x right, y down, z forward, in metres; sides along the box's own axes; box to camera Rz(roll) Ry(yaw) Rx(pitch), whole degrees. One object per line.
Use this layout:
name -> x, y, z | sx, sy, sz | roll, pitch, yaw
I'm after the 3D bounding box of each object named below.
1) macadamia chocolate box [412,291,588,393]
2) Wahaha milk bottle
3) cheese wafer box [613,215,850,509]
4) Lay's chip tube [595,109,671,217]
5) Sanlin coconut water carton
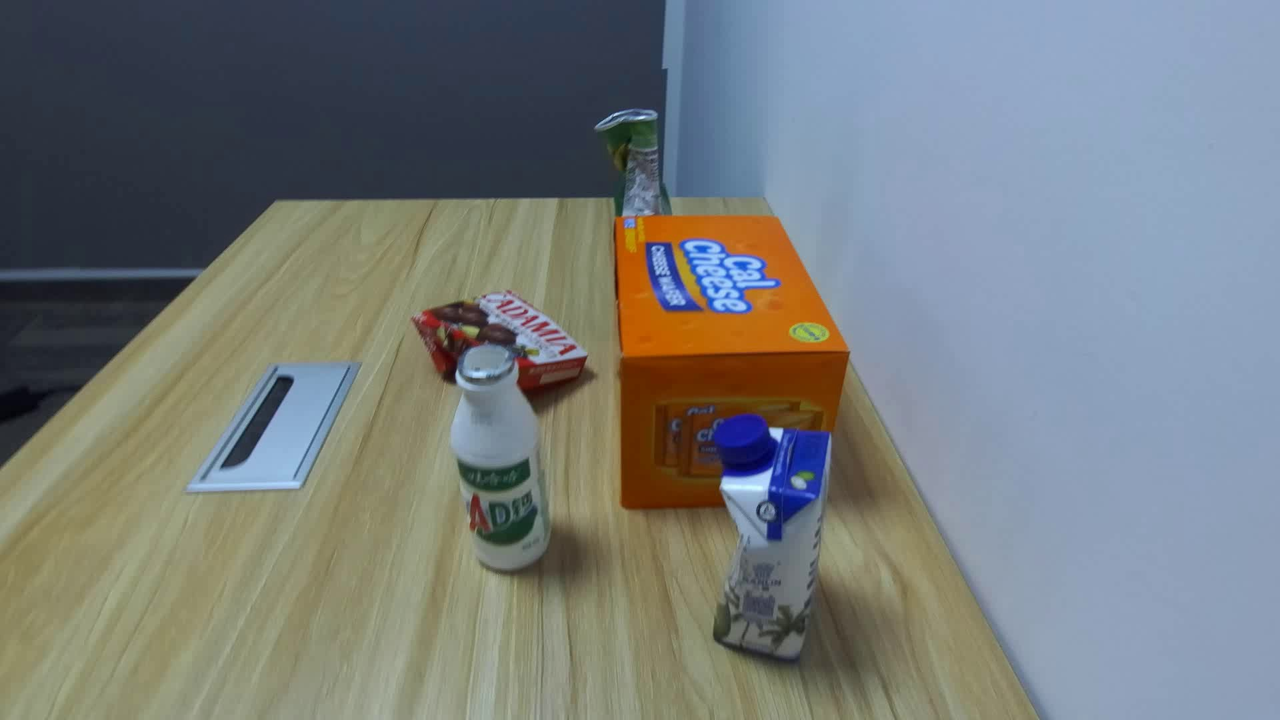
macadamia chocolate box -> -0.117, -0.017, 0.622 | 0.126, 0.056, 0.112 | 26, 42, 33
Wahaha milk bottle -> -0.085, 0.065, 0.430 | 0.053, 0.137, 0.053 | 0, 36, 0
cheese wafer box -> 0.054, -0.010, 0.550 | 0.148, 0.129, 0.221 | -1, 34, -3
Lay's chip tube -> -0.001, -0.138, 0.680 | 0.071, 0.199, 0.079 | 1, 30, 13
Sanlin coconut water carton -> 0.071, 0.094, 0.384 | 0.057, 0.142, 0.078 | 6, 33, 19
